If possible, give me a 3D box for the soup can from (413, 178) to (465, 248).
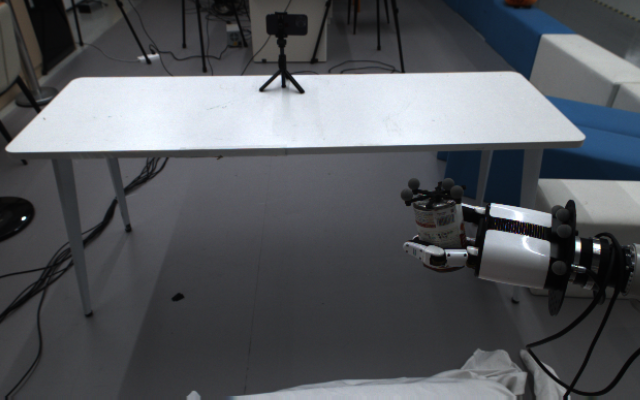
[{"bbox_3d":[0.176,0.043,0.694,0.067,0.101,0.067,-13,20,5],"label":"soup can"}]
